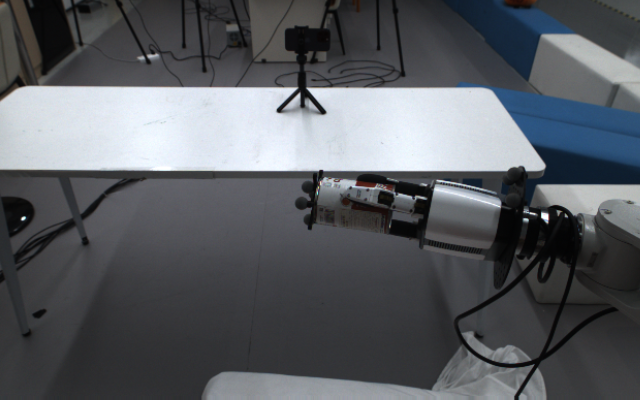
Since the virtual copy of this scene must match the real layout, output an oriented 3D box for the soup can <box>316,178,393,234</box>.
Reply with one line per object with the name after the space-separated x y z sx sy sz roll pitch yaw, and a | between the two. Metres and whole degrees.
0.050 0.006 0.660 0.101 0.067 0.067 7 35 10 | soup can
